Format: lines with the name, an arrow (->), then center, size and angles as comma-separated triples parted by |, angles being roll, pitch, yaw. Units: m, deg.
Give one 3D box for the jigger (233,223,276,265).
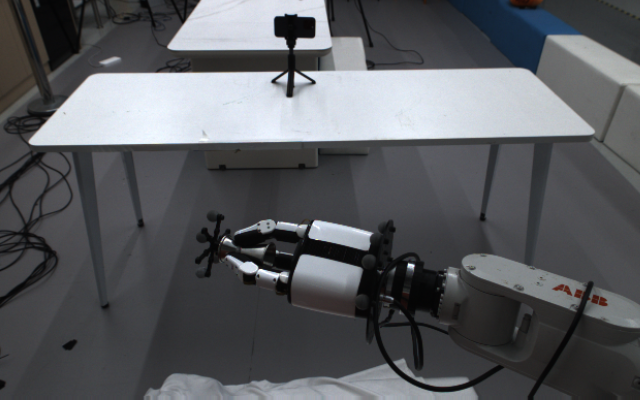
jigger -> -0.094, 0.070, 0.662 | 0.071, 0.043, 0.043 | 11, 36, 15
